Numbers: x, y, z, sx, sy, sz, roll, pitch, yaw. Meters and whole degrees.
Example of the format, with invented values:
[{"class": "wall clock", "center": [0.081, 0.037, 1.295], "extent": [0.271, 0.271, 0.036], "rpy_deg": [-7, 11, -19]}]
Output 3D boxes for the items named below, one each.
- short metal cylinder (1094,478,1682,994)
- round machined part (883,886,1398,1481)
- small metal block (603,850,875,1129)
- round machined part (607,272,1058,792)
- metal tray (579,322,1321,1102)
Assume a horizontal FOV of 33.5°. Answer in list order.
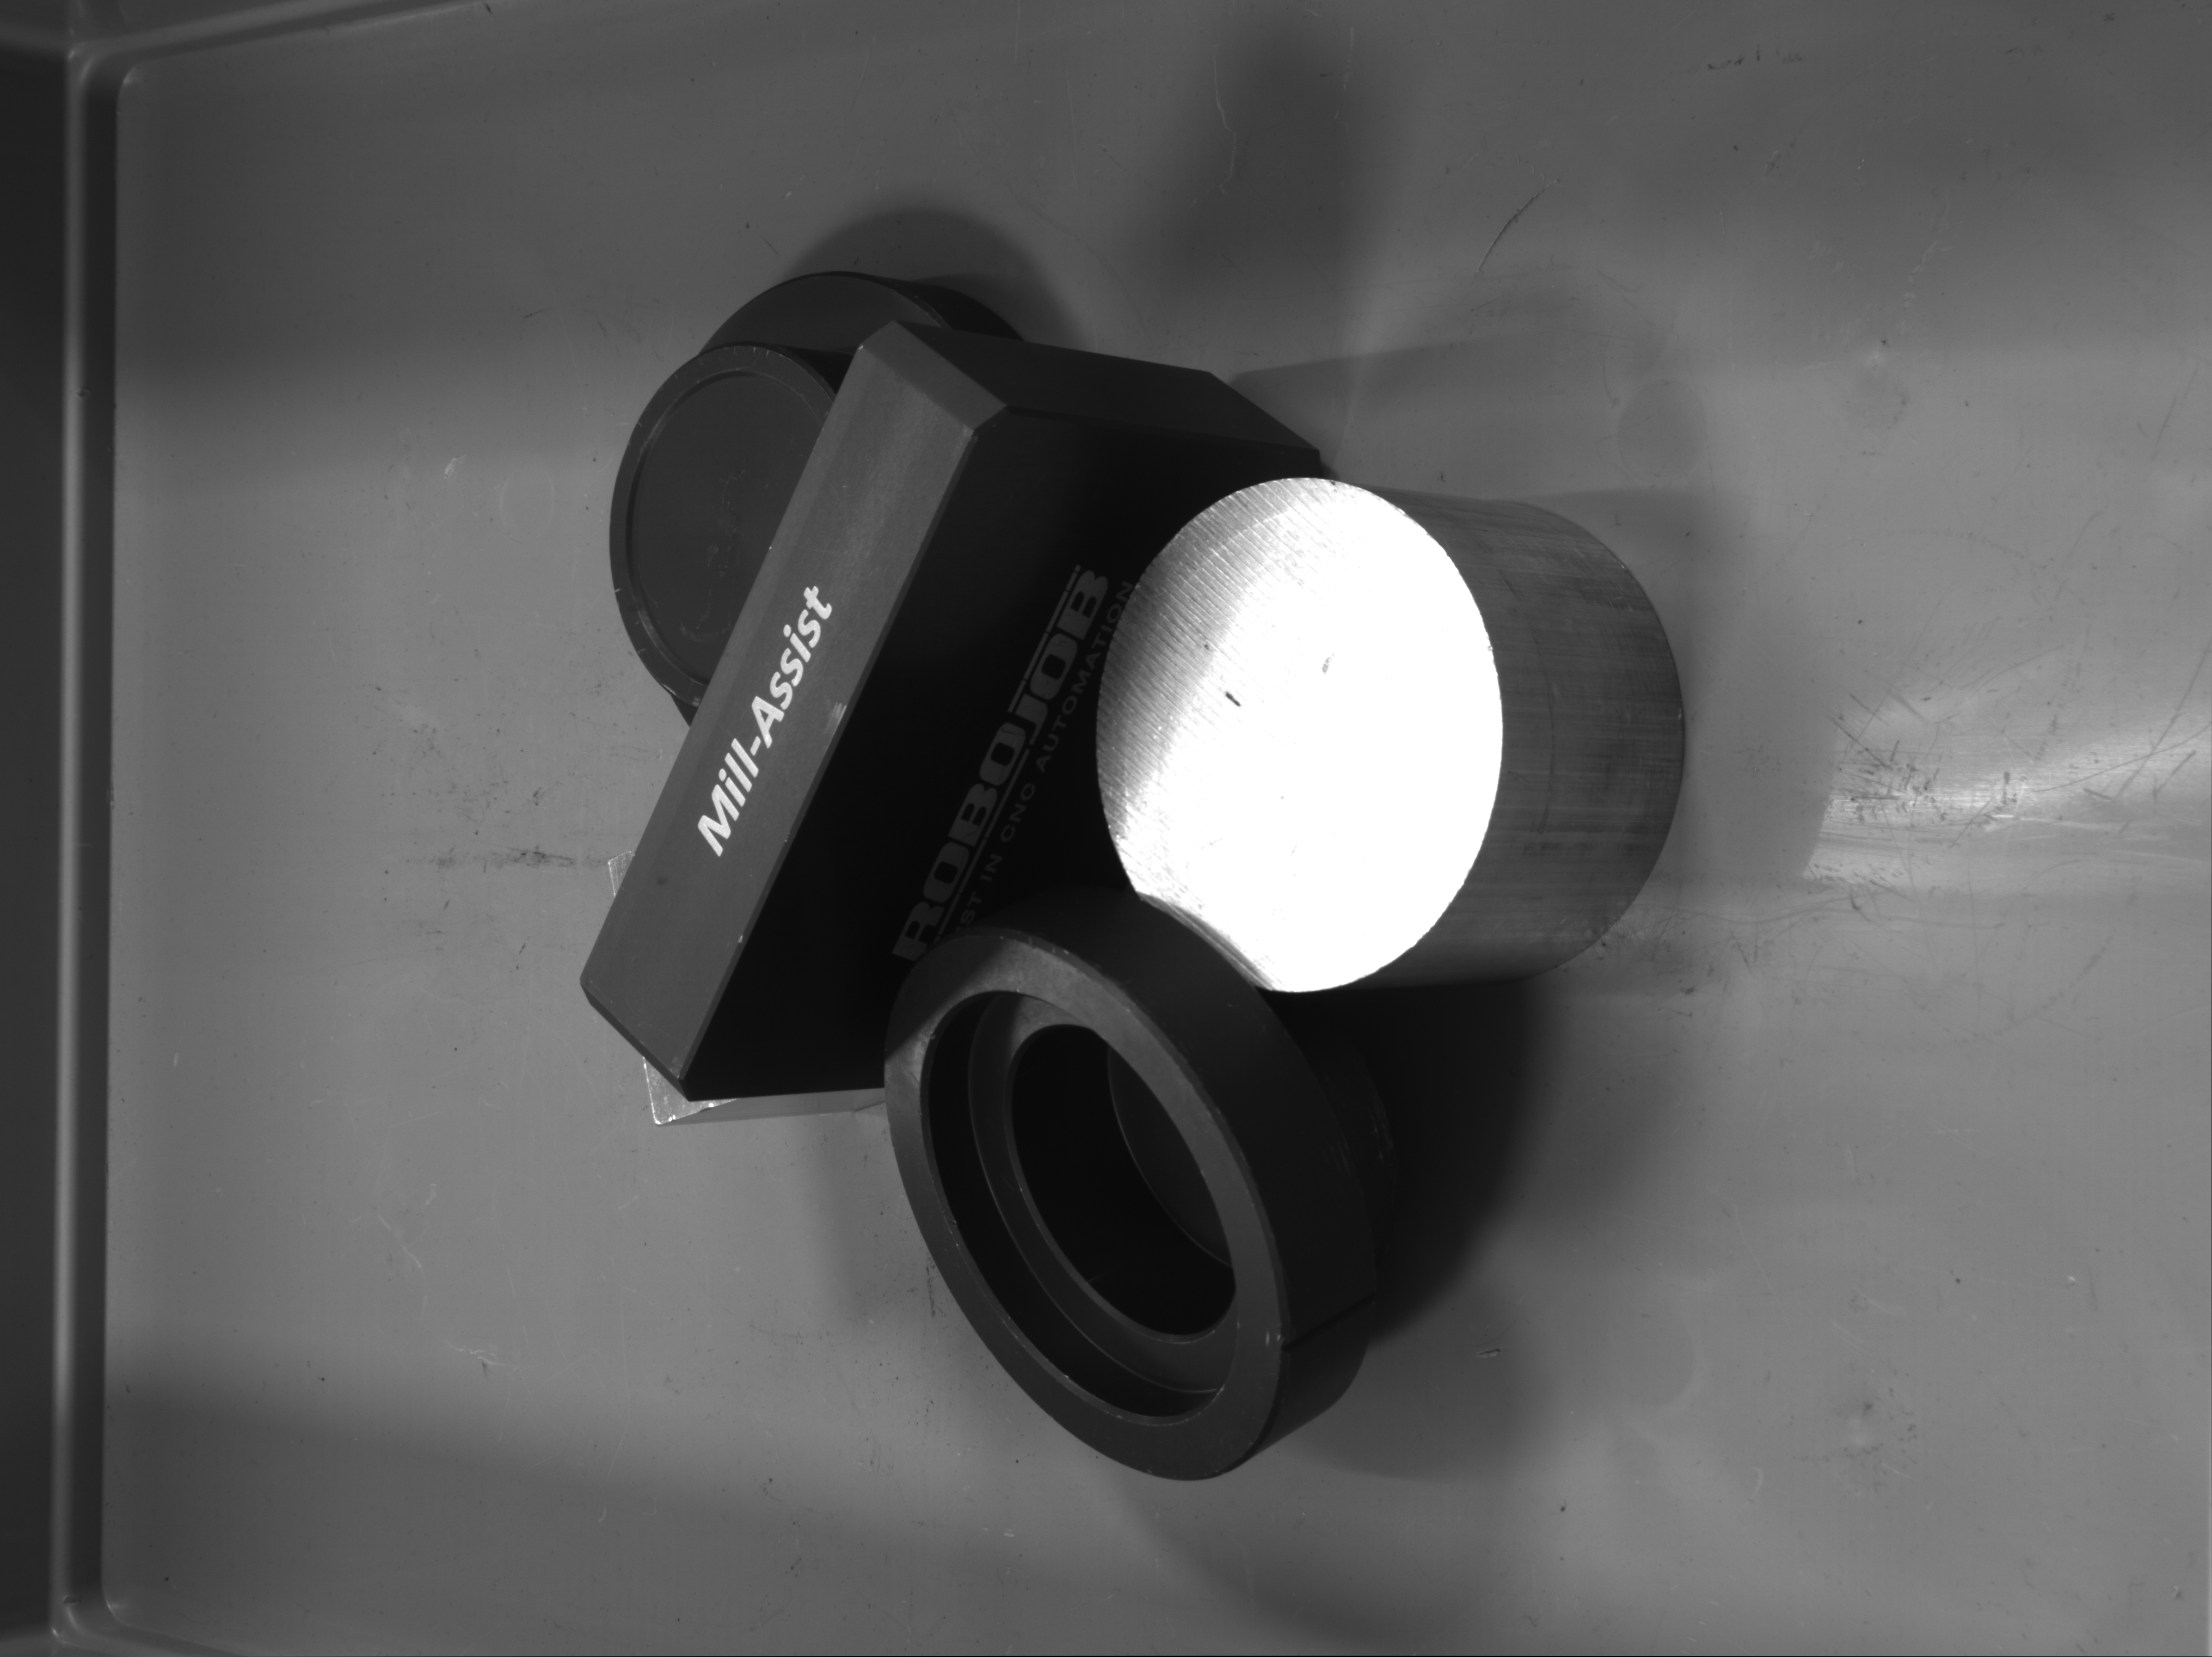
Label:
[{"class": "short metal cylinder", "center": [0.045, -0.014, 0.589], "extent": [0.080, 0.050, 0.080], "rpy_deg": [0, 90, 40]}, {"class": "round machined part", "center": [0.010, 0.055, 0.609], "extent": [0.098, 0.042, 0.098], "rpy_deg": [29, 132, 39]}, {"class": "small metal block", "center": [-0.062, 0.027, 0.678], "extent": [0.025, 0.050, 0.050], "rpy_deg": [-20, 77, 38]}, {"class": "round machined part", "center": [-0.054, -0.054, 0.677], "extent": [0.098, 0.042, 0.098], "rpy_deg": [0, 90, 40]}, {"class": "metal tray", "center": [-0.026, -0.017, 0.622], "extent": [0.030, 0.090, 0.130], "rpy_deg": [40, 114, 33]}]
